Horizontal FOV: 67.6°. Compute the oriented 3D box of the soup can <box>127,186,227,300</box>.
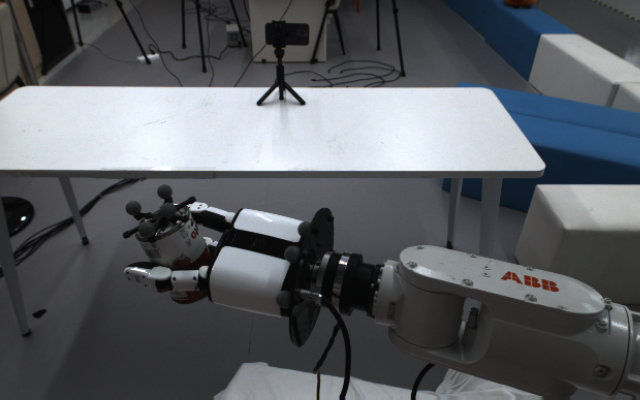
[{"bbox_3d":[-0.168,0.067,0.582,0.067,0.101,0.067,-13,31,8],"label":"soup can"}]
